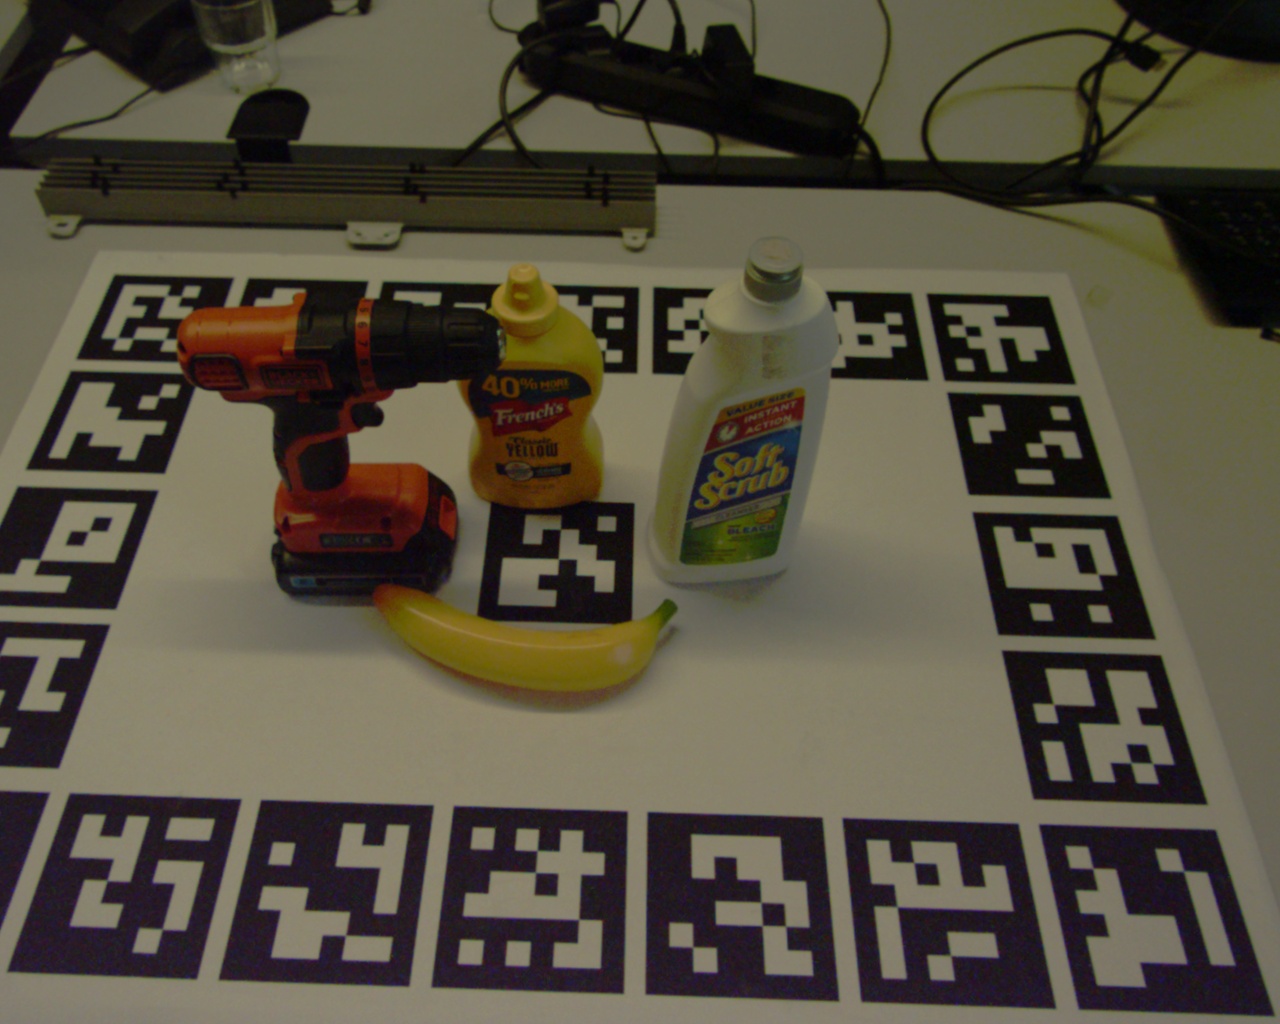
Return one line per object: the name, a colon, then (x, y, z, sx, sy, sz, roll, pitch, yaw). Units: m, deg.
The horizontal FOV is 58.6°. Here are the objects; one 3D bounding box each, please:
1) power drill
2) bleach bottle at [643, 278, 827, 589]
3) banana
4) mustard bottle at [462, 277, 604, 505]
power drill: (-0.174, -0.047, 0.725, 0.184, 0.186, 0.057, 1, 46, -4)
bleach bottle: (0.057, -0.045, 0.724, 0.102, 0.250, 0.068, -5, 55, -6)
banana: (-0.071, 0.077, 0.749, 0.198, 0.038, 0.074, 3, 57, 3)
mustard bottle: (-0.073, -0.082, 0.776, 0.096, 0.191, 0.058, 3, 53, -1)
